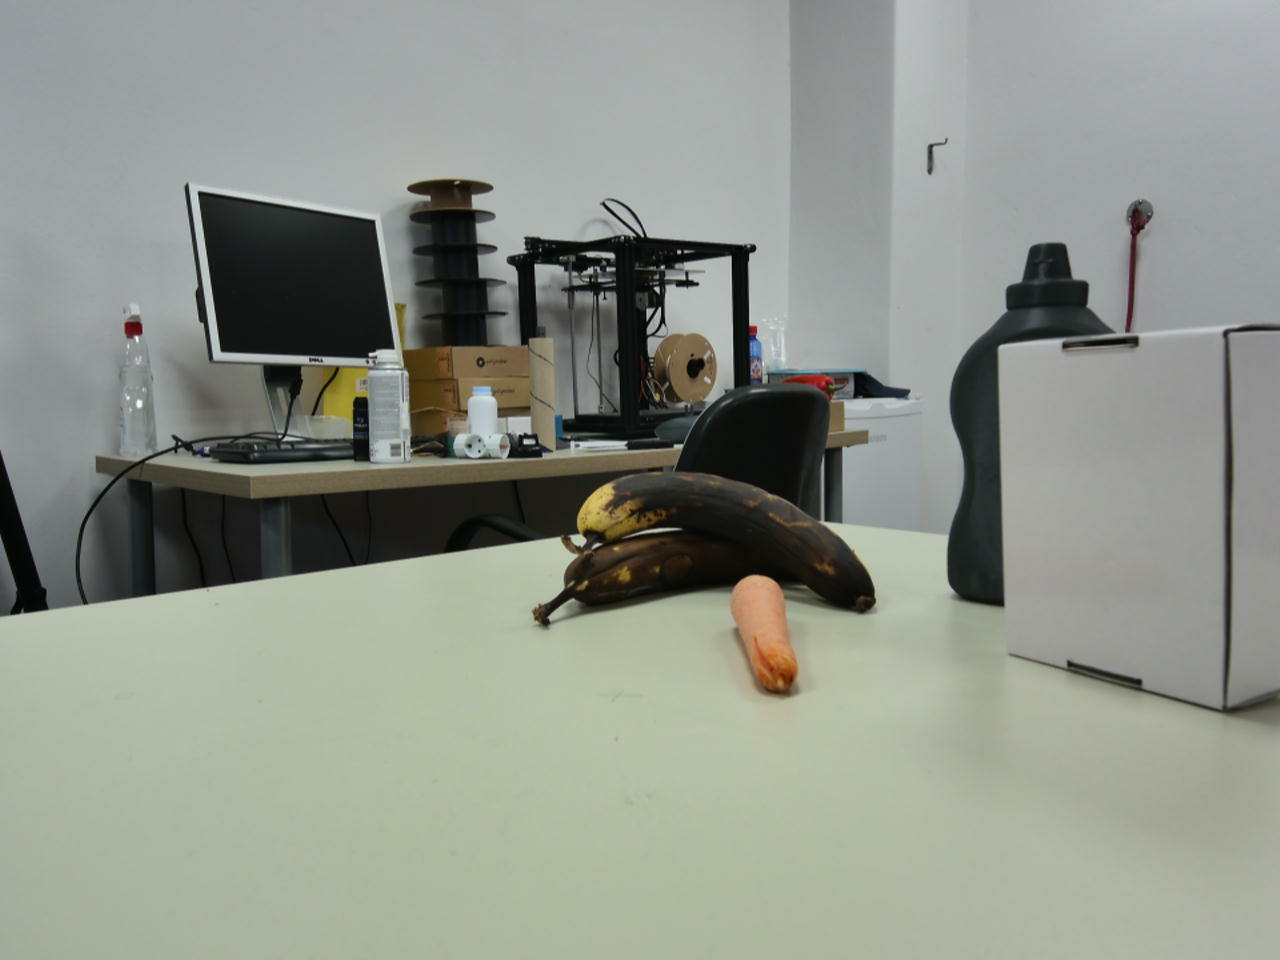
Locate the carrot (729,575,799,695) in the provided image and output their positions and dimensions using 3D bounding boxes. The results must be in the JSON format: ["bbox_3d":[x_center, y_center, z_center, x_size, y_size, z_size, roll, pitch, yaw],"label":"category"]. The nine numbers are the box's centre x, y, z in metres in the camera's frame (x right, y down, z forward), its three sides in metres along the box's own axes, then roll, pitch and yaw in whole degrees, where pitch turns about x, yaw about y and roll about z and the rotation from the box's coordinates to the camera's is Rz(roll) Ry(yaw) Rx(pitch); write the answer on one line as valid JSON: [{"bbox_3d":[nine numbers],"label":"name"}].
[{"bbox_3d":[0.059,0.069,0.479,0.030,0.032,0.136,1,4,3],"label":"carrot"}]
